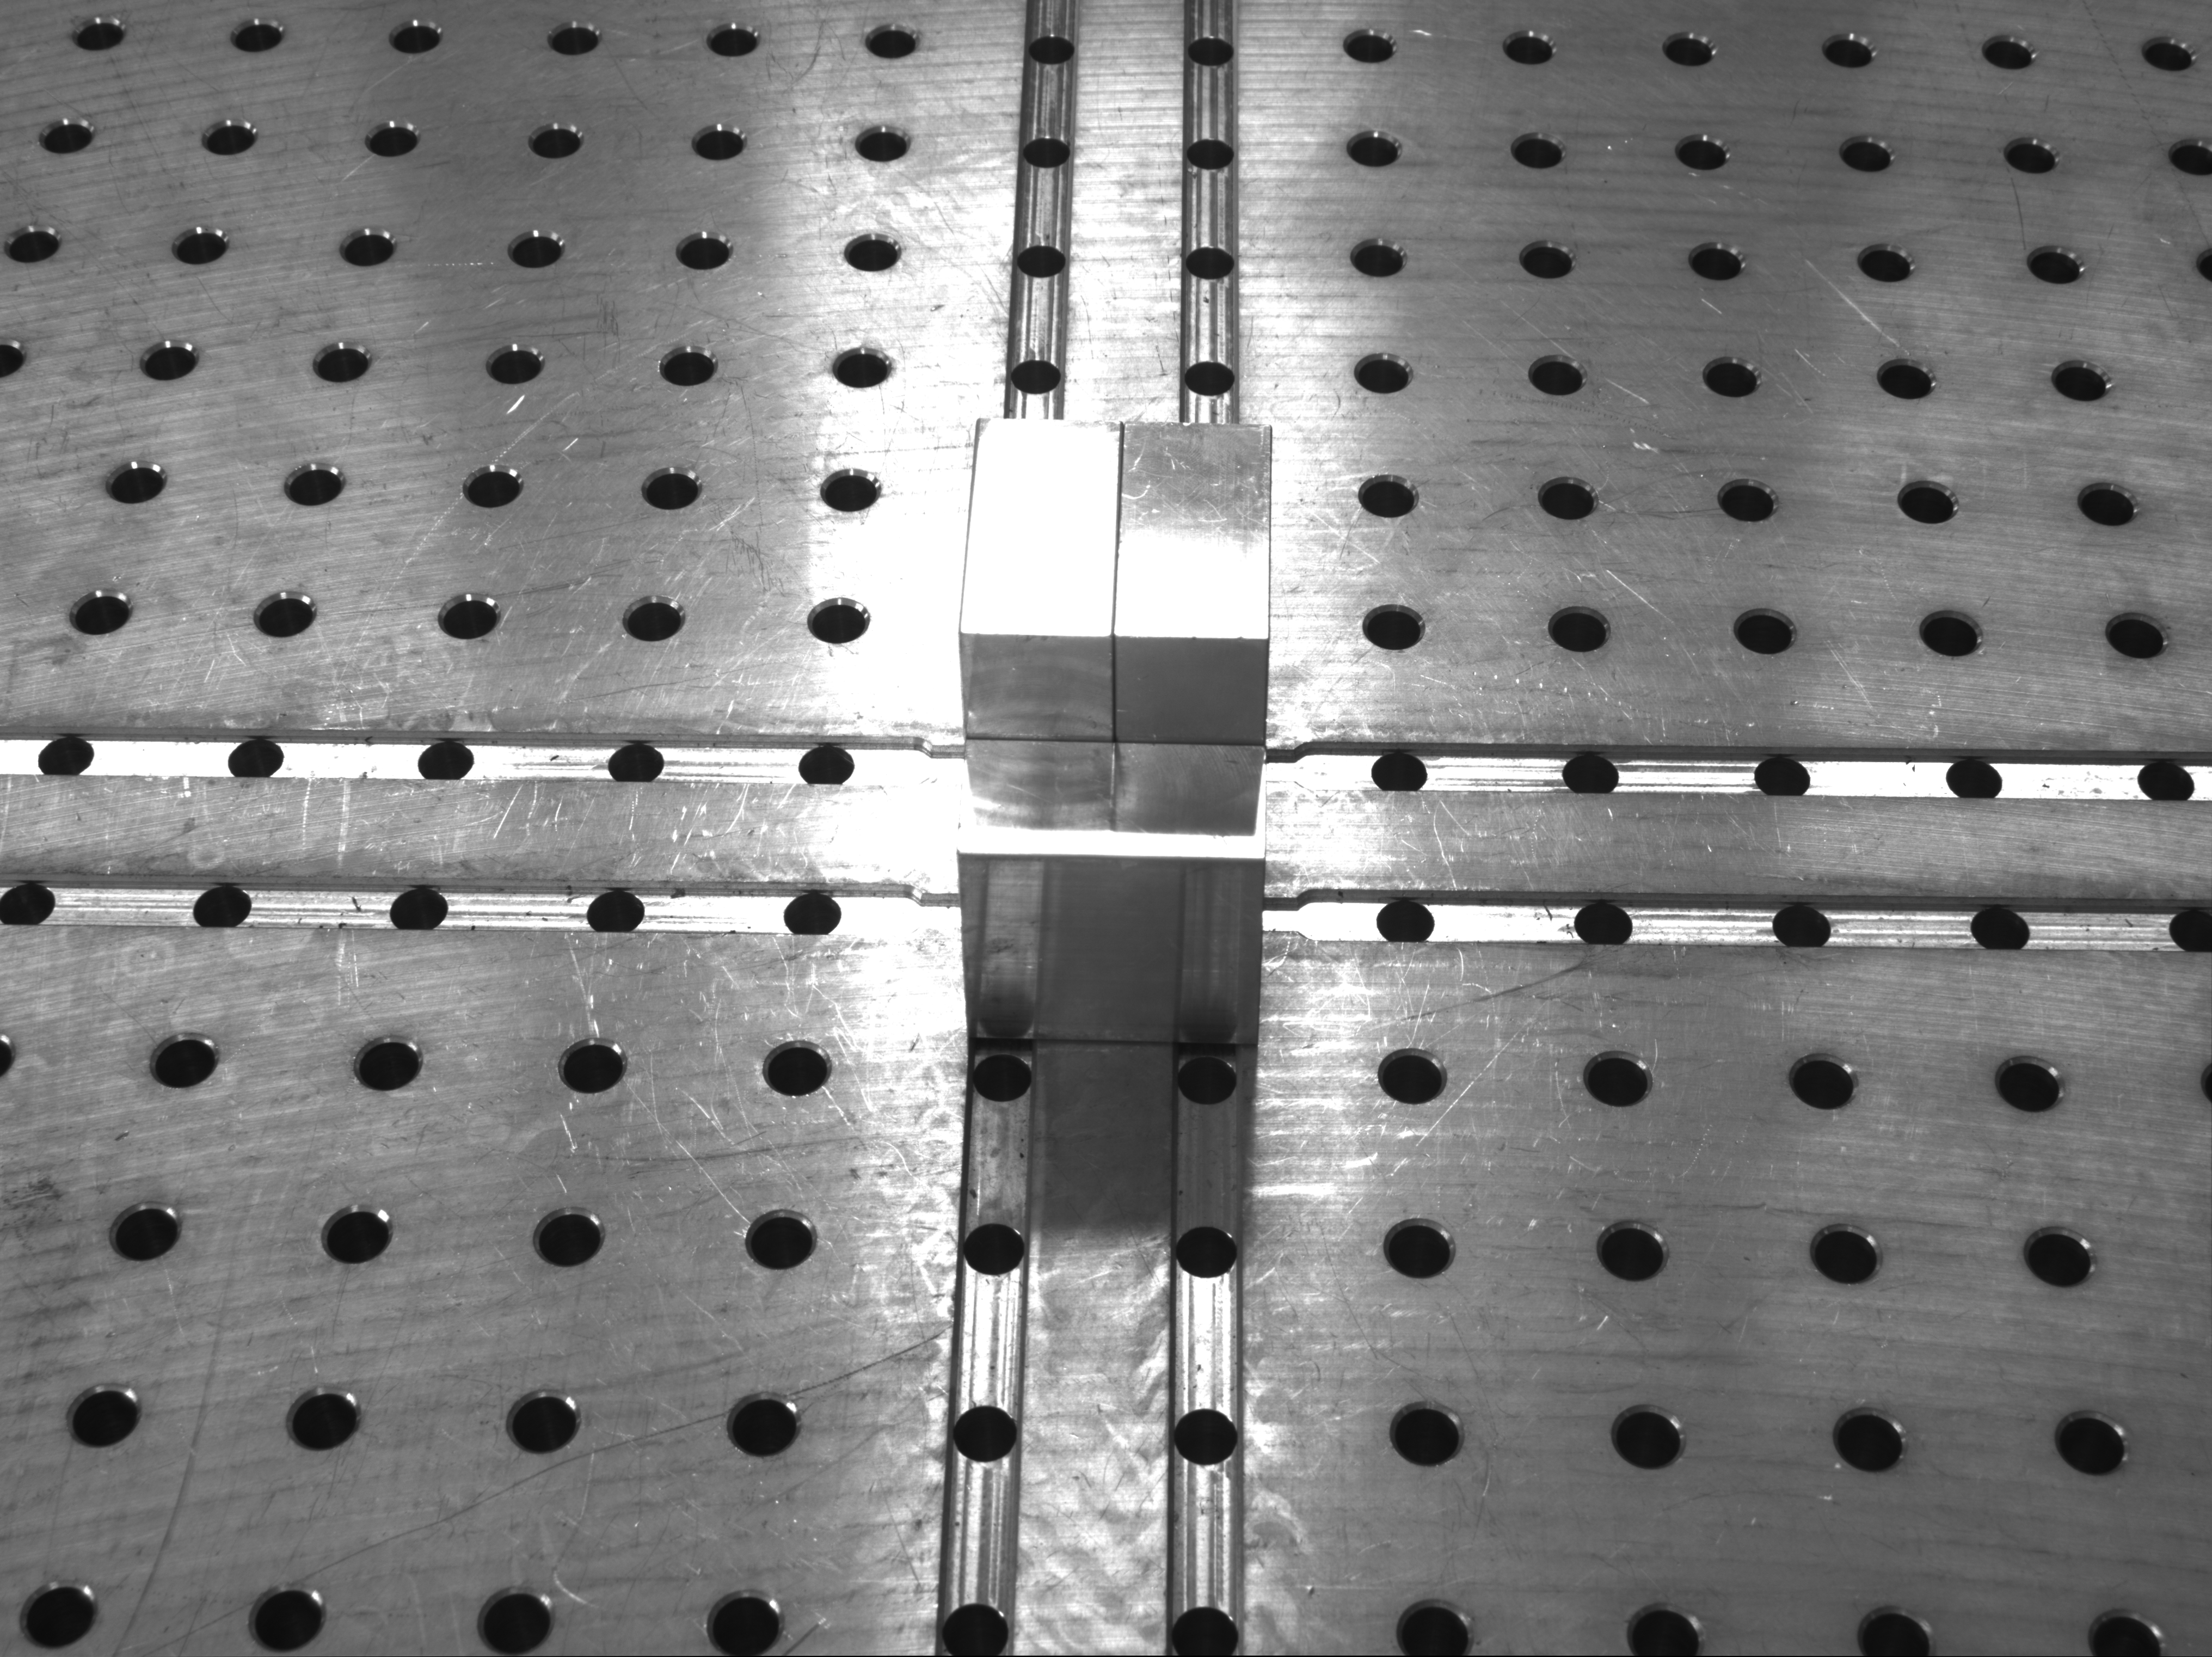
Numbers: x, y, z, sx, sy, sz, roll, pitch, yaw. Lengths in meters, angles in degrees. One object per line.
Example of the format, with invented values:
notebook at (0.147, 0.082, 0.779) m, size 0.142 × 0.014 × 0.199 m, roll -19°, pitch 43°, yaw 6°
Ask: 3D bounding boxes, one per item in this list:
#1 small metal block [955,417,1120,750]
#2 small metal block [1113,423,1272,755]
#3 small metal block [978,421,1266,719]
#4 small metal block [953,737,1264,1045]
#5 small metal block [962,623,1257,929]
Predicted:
small metal block at (-0.011, -0.034, 0.625) m, size 0.025 × 0.050 × 0.050 m, roll 1°, pitch 50°, yaw 1°
small metal block at (0.015, -0.033, 0.625) m, size 0.025 × 0.050 × 0.050 m, roll 1°, pitch 50°, yaw 3°
small metal block at (0.003, -0.047, 0.668) m, size 0.050 × 0.050 × 0.025 m, roll 1°, pitch 50°, yaw 2°
small metal block at (0.001, 0.011, 0.620) m, size 0.050 × 0.050 × 0.025 m, roll 1°, pitch 50°, yaw 1°
small metal block at (0.002, -0.010, 0.653) m, size 0.050 × 0.025 × 0.050 m, roll 0°, pitch 50°, yaw 2°
